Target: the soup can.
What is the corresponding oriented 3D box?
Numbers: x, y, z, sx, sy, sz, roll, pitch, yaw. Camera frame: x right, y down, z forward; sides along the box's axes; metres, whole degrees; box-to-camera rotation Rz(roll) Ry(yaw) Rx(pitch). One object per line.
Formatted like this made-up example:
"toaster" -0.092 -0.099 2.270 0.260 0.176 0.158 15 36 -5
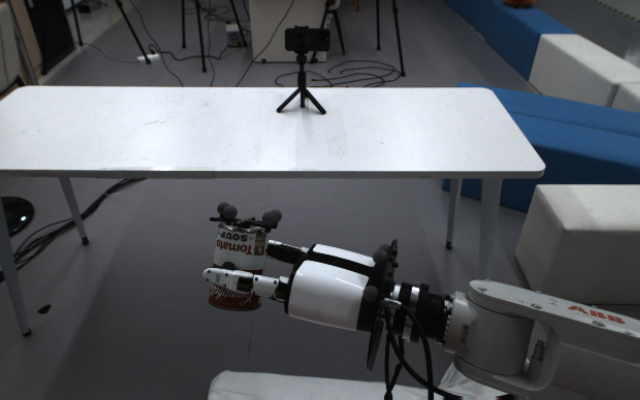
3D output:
"soup can" -0.100 0.083 0.616 0.067 0.101 0.067 7 4 0
